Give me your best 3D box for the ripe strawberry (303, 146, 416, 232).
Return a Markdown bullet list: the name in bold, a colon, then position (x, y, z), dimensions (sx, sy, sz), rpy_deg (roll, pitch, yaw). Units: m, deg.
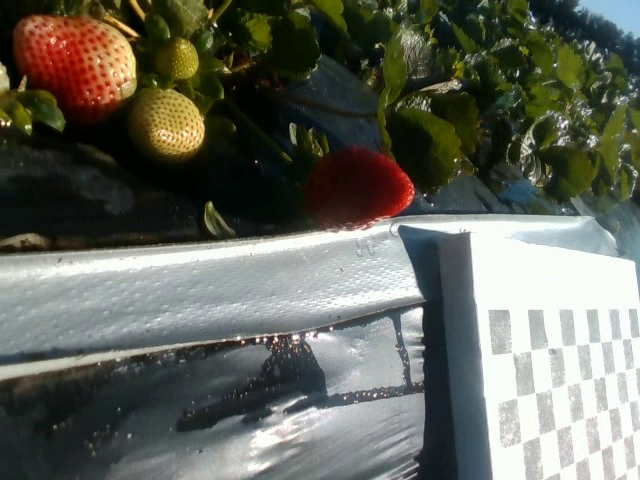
- **ripe strawberry**: position (0.015, -0.017, 0.211), dimensions (0.036, 0.038, 0.045), rpy_deg (3, 4, -44)
